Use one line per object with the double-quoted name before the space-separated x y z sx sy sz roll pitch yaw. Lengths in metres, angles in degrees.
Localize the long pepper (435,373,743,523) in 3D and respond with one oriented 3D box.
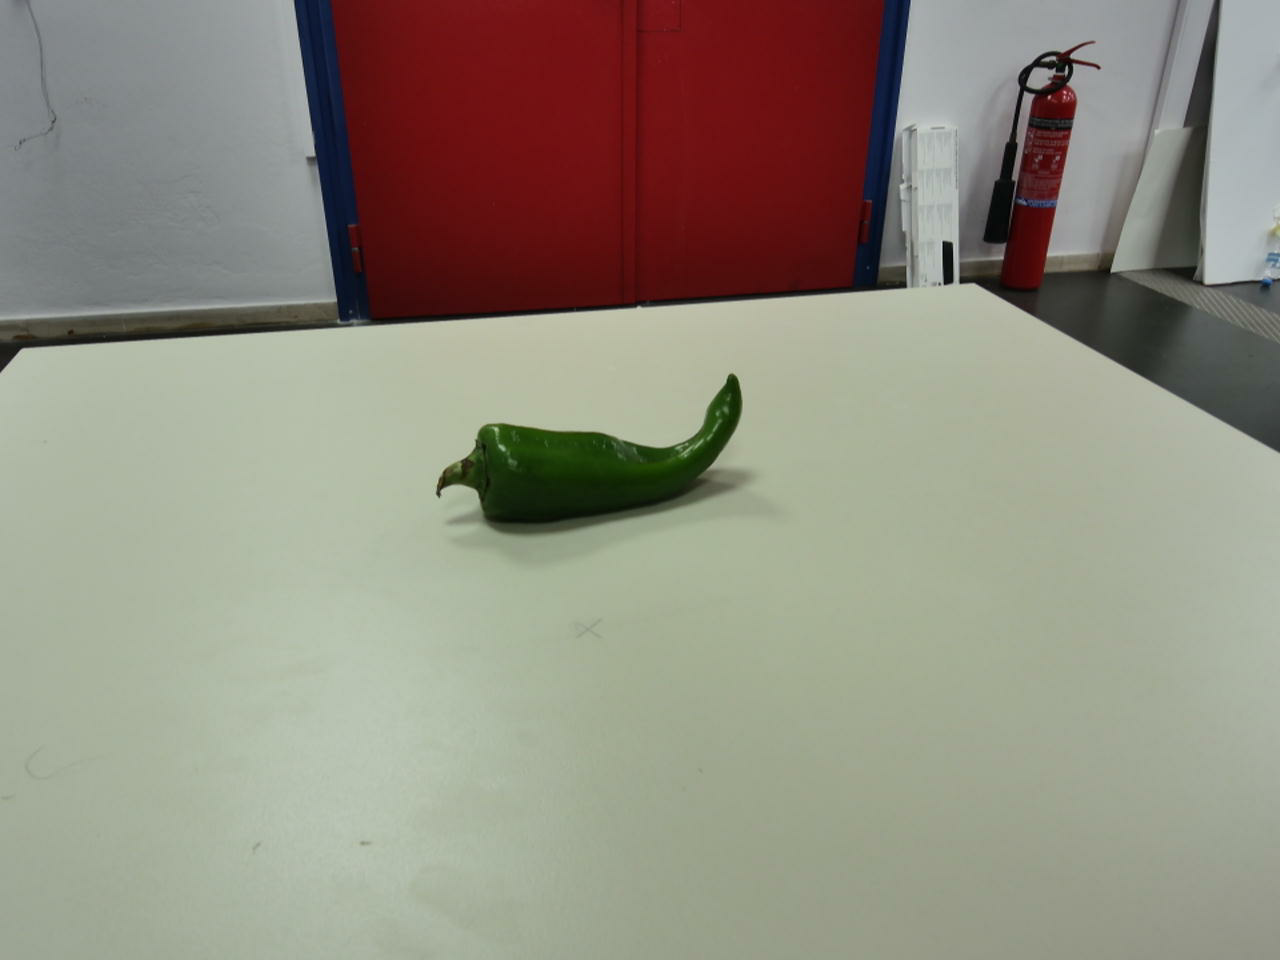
"long pepper" -0.024 -0.016 0.544 0.175 0.065 0.058 -7 27 -13
